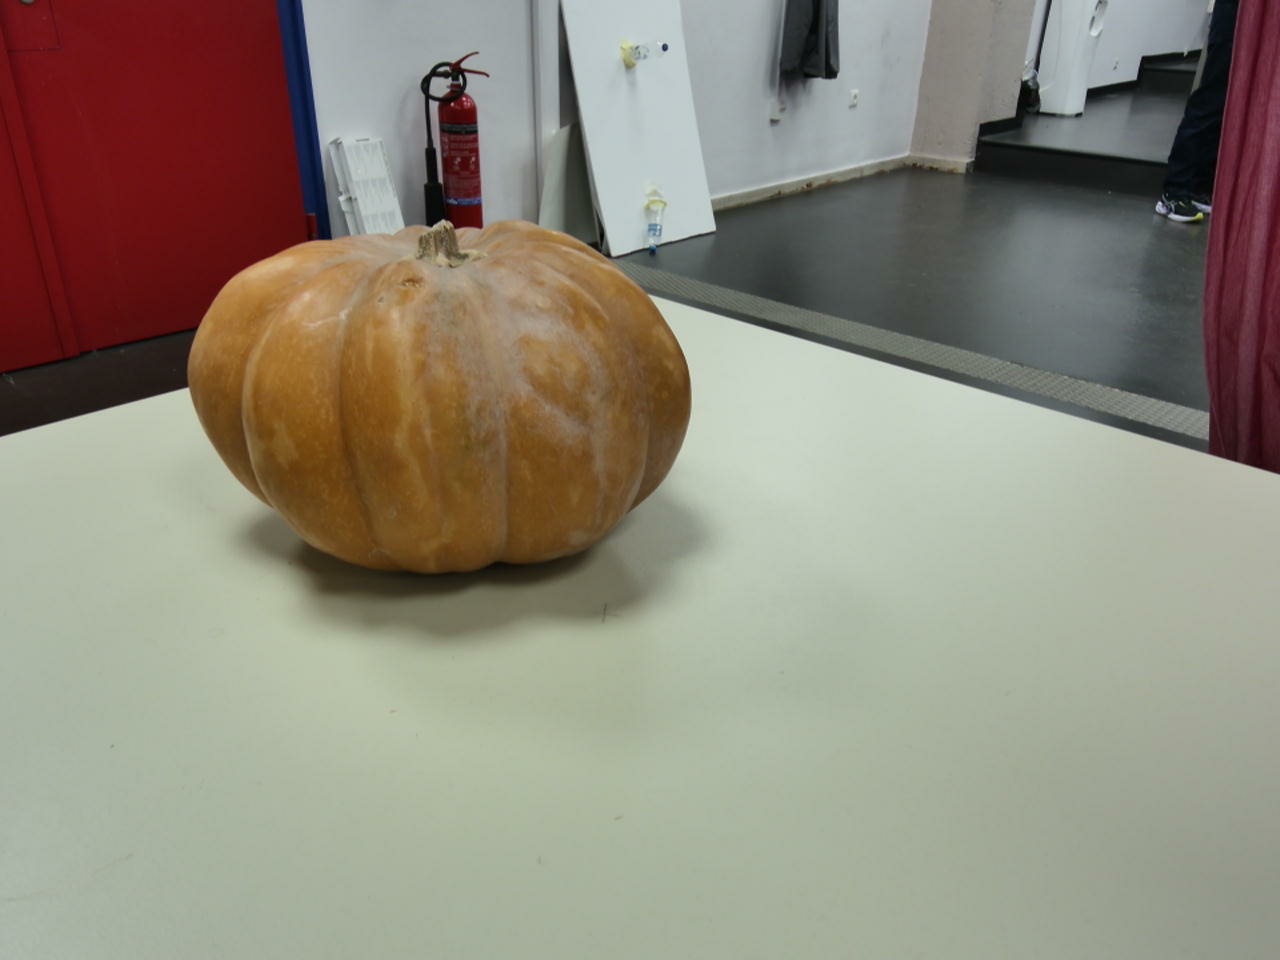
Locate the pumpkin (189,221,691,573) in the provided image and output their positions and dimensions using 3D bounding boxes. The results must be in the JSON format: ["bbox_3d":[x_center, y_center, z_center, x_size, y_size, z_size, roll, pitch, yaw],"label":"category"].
[{"bbox_3d":[-0.107,-0.054,0.572,0.277,0.181,0.277,0,26,0],"label":"pumpkin"}]
